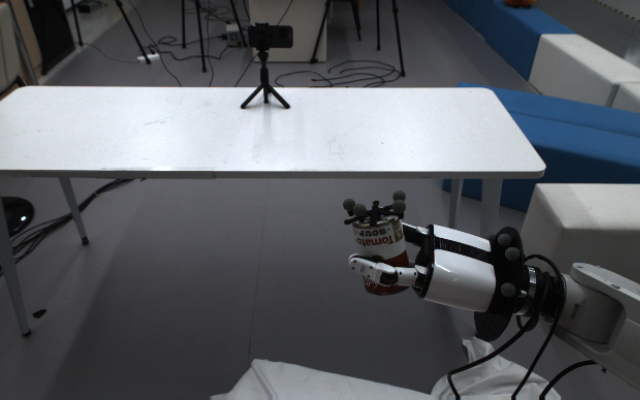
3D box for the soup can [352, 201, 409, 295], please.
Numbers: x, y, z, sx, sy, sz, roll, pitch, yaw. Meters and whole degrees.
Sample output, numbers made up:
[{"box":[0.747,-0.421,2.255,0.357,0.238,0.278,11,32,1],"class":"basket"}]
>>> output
[{"box":[0.087,0.068,0.659,0.067,0.101,0.067,-12,17,4],"class":"soup can"}]
